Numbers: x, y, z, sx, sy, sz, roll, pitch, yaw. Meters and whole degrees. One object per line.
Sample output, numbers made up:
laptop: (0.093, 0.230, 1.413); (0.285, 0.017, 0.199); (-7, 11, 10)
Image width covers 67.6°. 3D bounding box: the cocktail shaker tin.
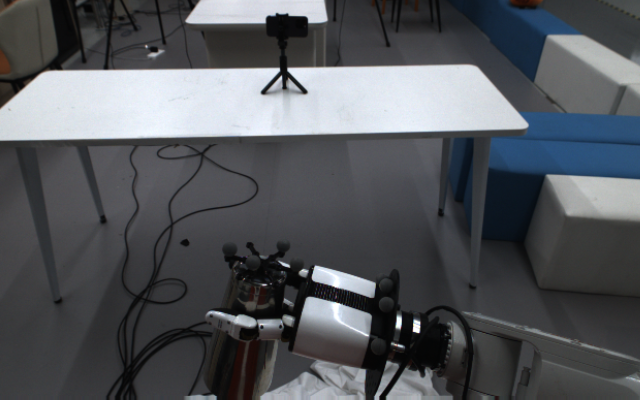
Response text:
cocktail shaker tin: (-0.087, 0.155, 0.611); (0.093, 0.170, 0.093); (12, 25, -6)
